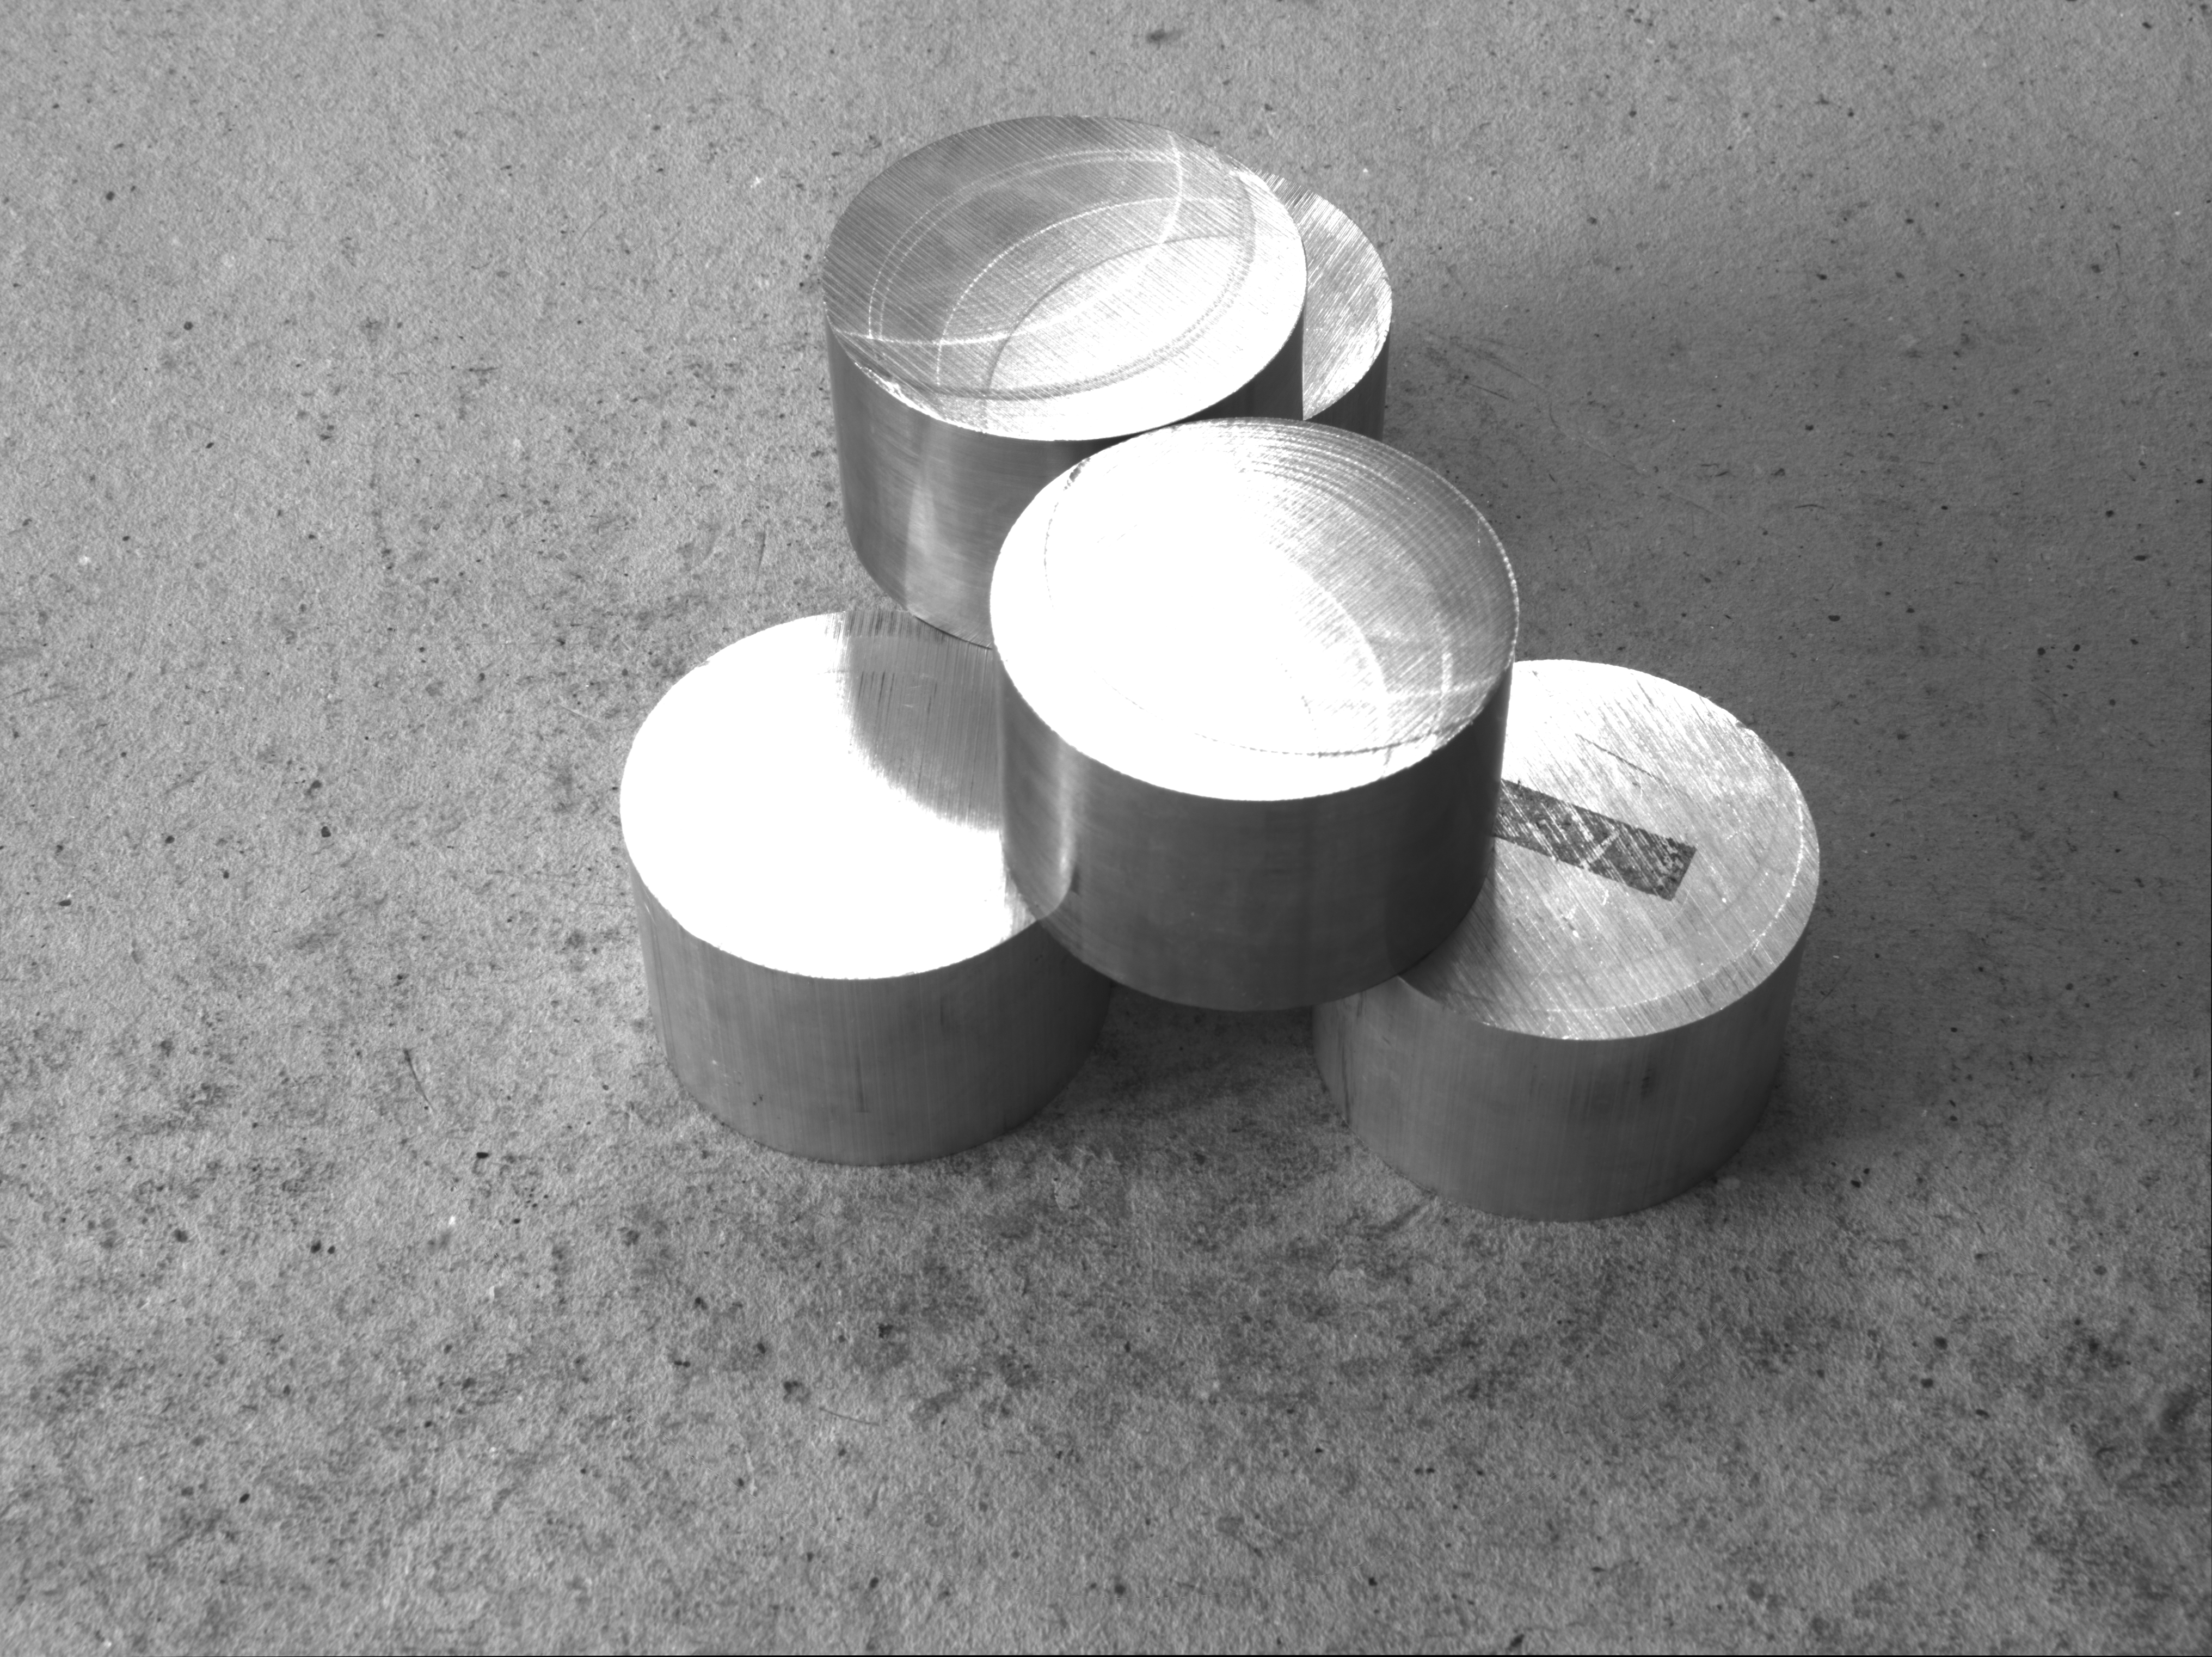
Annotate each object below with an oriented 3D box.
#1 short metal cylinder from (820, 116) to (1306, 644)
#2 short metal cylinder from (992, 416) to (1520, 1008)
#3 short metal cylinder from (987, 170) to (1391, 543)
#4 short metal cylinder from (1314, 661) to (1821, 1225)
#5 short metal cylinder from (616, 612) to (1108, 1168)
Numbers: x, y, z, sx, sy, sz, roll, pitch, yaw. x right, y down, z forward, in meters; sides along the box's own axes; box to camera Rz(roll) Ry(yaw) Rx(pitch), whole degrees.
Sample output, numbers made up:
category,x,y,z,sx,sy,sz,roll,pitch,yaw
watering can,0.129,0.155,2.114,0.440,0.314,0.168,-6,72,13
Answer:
category,x,y,z,sx,sy,sz,roll,pitch,yaw
short metal cylinder,-0.007,-0.076,0.623,0.080,0.050,0.080,0,50,0
short metal cylinder,0.023,-0.019,0.575,0.080,0.050,0.080,0,50,0
short metal cylinder,0.013,-0.081,0.695,0.080,0.050,0.080,0,50,0
short metal cylinder,0.075,0.018,0.610,0.080,0.050,0.080,0,50,0
short metal cylinder,-0.040,0.010,0.617,0.080,0.050,0.080,0,50,0
